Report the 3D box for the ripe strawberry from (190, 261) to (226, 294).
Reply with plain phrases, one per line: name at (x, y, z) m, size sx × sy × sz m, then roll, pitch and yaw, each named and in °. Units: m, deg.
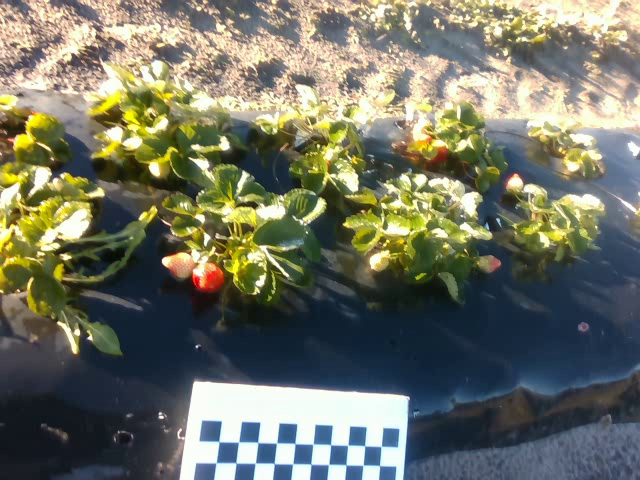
ripe strawberry at (-0.132, 0.044, 0.676) m, size 0.040 × 0.038 × 0.055 m, roll -12°, pitch -1°, yaw 5°
